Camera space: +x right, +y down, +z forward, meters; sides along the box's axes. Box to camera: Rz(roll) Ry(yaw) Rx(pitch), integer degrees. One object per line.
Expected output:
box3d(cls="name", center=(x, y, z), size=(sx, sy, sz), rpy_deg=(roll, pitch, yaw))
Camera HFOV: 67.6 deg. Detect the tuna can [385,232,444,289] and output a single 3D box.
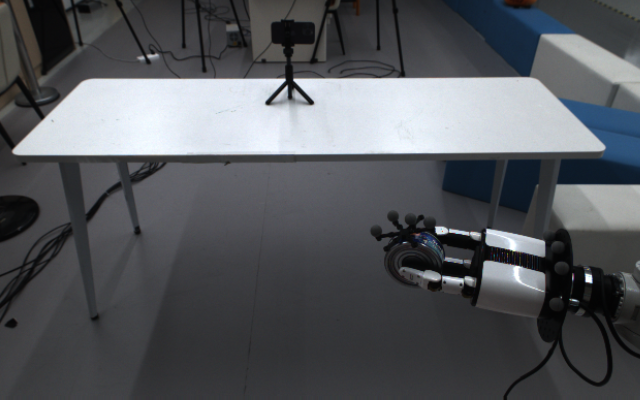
box3d(cls="tuna can", center=(0.141, 0.085, 0.710), size=(0.085, 0.085, 0.034), rpy_deg=(11, 34, 13))
